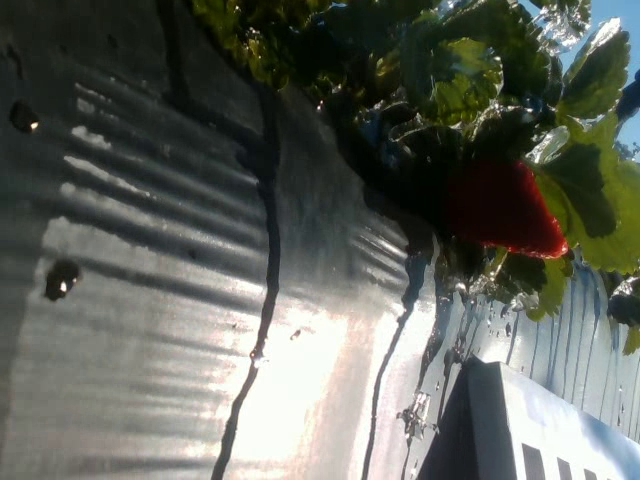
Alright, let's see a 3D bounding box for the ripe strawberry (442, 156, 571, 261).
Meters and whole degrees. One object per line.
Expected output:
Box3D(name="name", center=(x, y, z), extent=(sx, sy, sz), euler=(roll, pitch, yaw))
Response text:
Box3D(name="ripe strawberry", center=(0.075, -0.009, 0.225), extent=(0.041, 0.047, 0.053), euler=(25, 17, -45))
